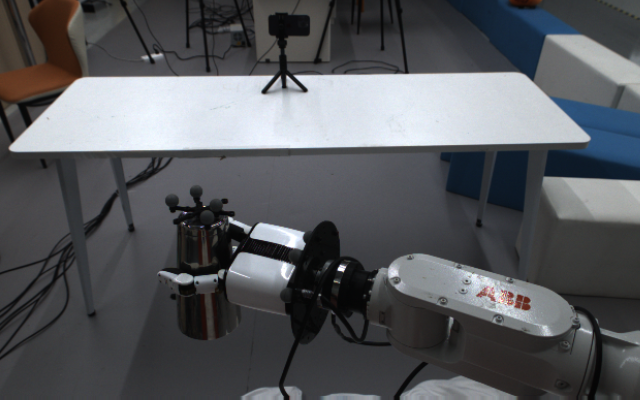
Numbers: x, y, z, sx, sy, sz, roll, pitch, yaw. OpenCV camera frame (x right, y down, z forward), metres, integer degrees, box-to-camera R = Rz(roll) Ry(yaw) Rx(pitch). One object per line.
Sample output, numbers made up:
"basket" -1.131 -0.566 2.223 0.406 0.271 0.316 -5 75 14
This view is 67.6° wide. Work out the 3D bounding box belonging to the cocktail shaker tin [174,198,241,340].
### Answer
"cocktail shaker tin" -0.158 0.098 0.672 0.093 0.170 0.093 2 25 -1
